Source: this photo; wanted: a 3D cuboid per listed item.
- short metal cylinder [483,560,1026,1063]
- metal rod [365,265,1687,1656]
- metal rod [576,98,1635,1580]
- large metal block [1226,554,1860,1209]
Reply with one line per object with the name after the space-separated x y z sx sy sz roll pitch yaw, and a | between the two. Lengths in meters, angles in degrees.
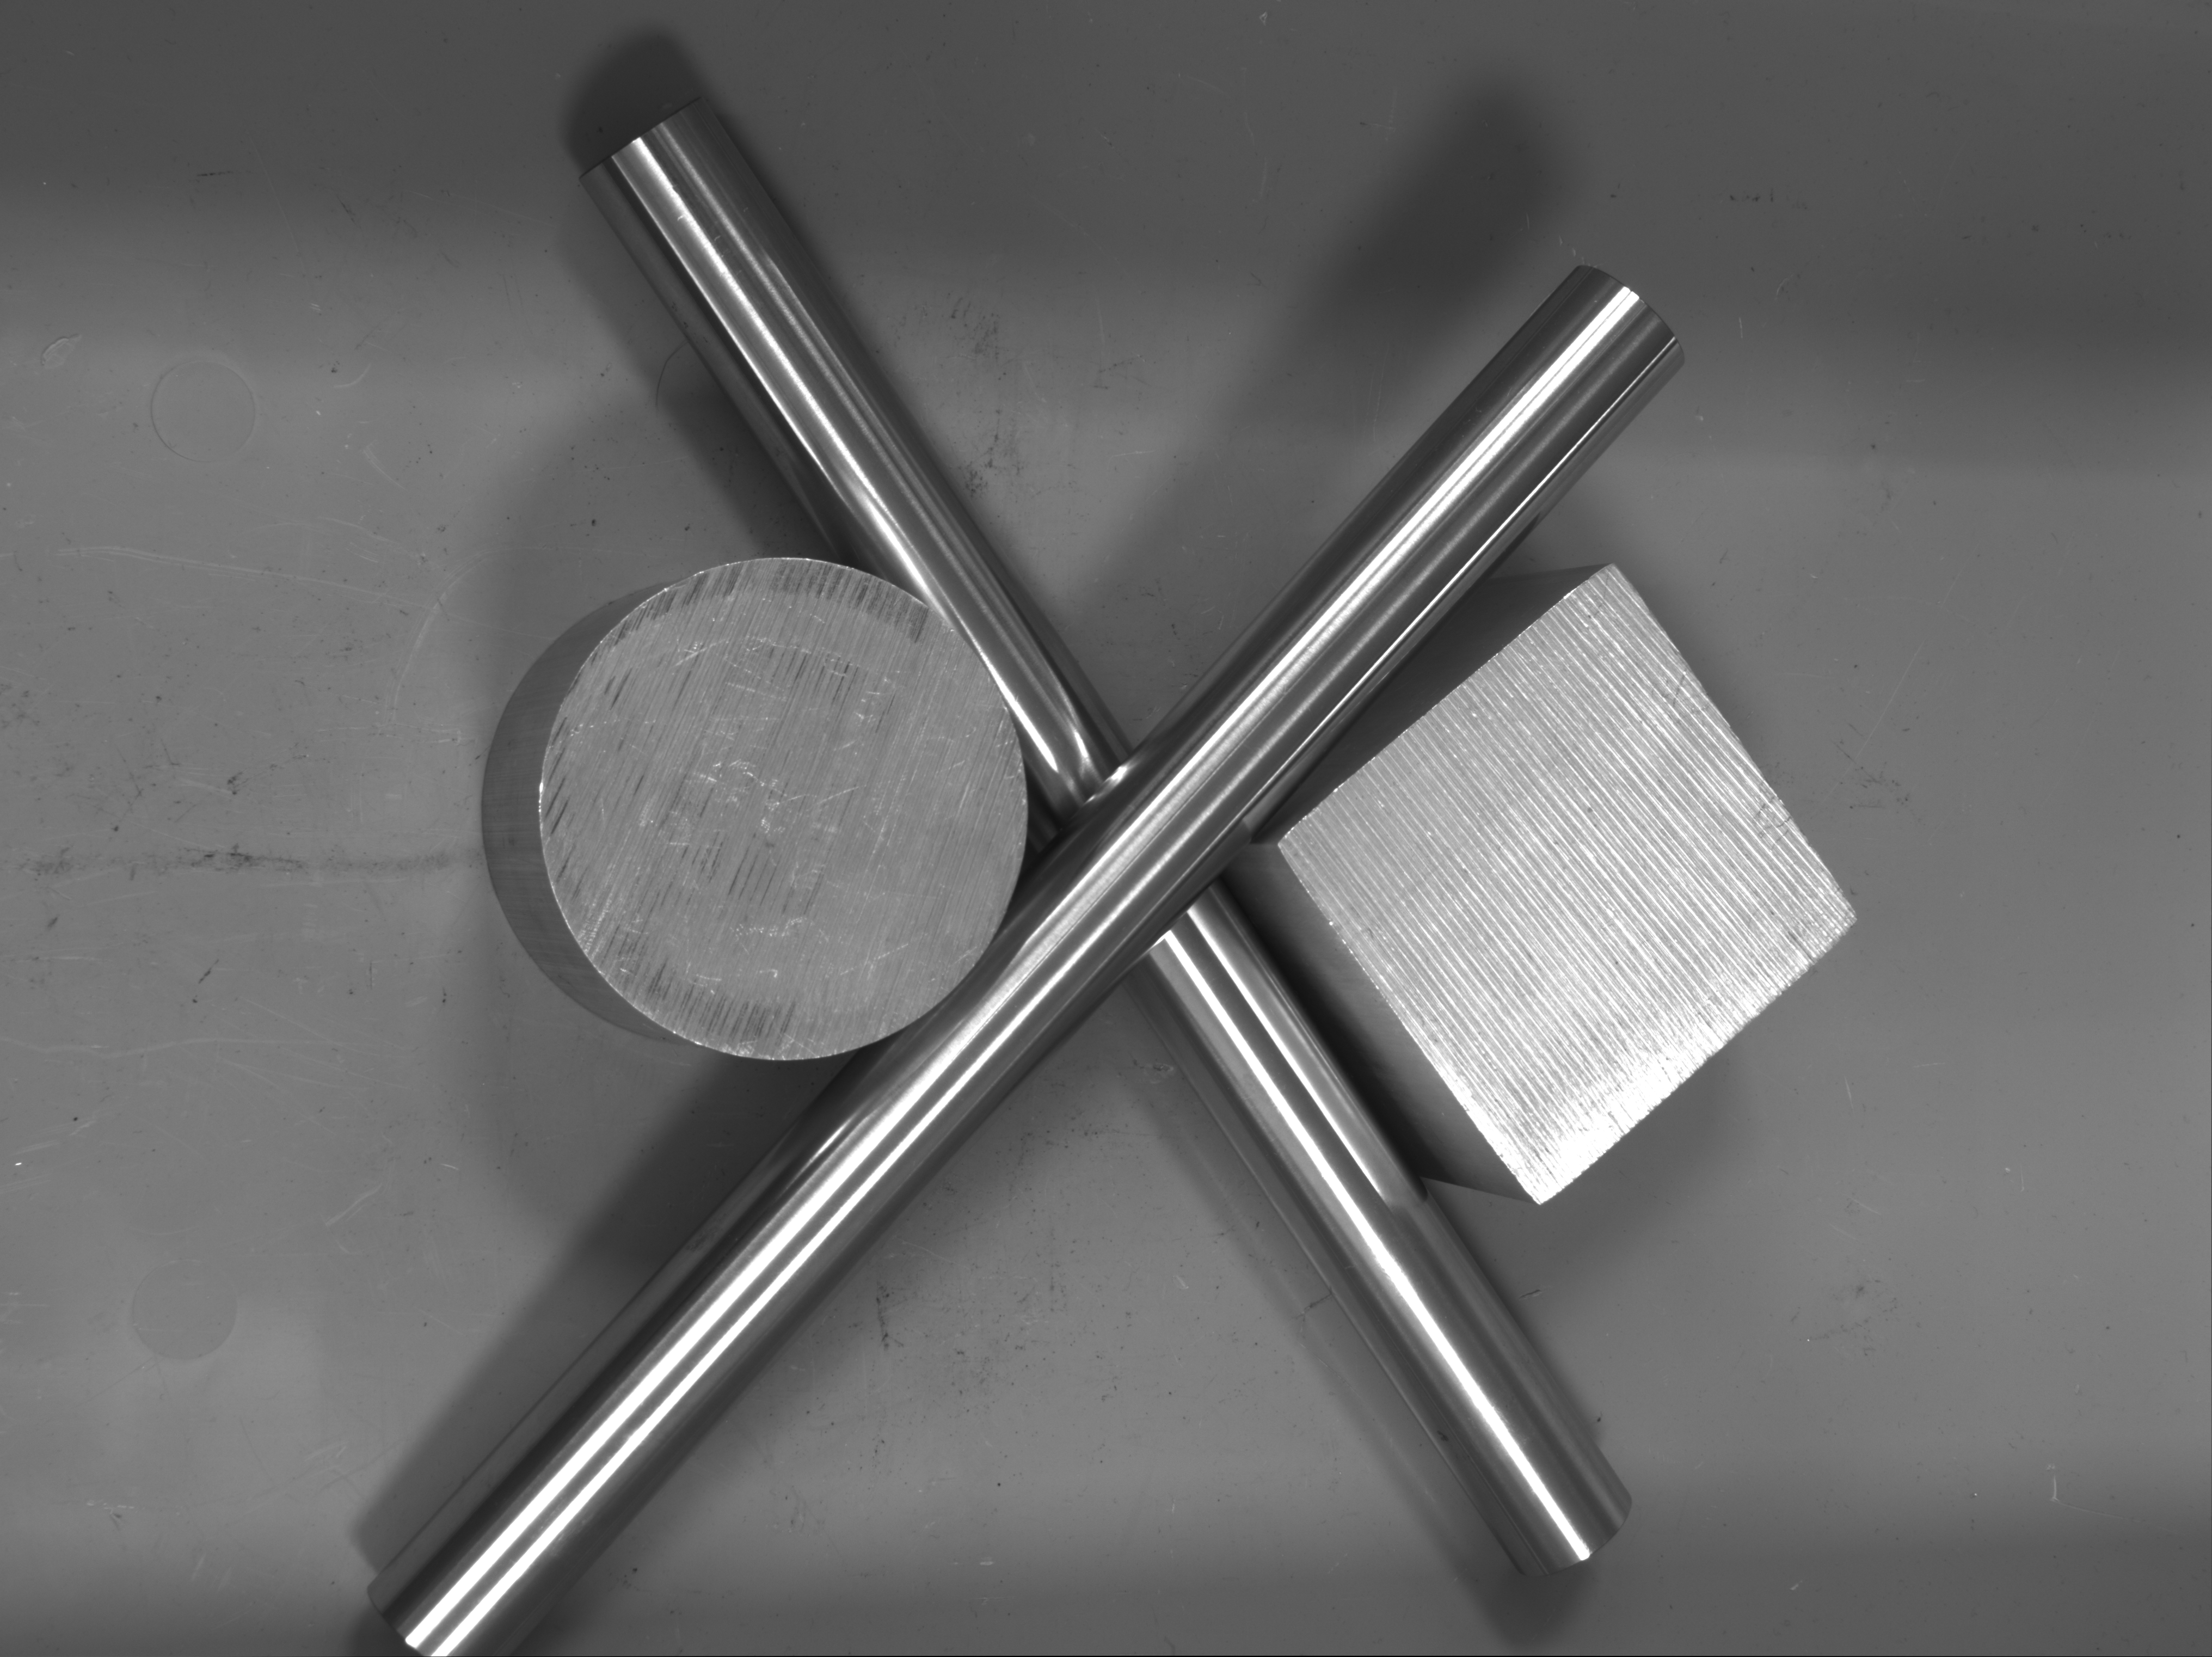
-0.059 -0.003 0.607 0.080 0.050 0.080 0 90 -20 | short metal cylinder
-0.011 0.022 0.616 0.025 0.025 0.300 44 85 -14 | metal rod
0.004 0.007 0.643 0.025 0.025 0.300 -37 102 -16 | metal rod
0.072 0.009 0.654 0.080 0.050 0.080 -40 103 -15 | large metal block
